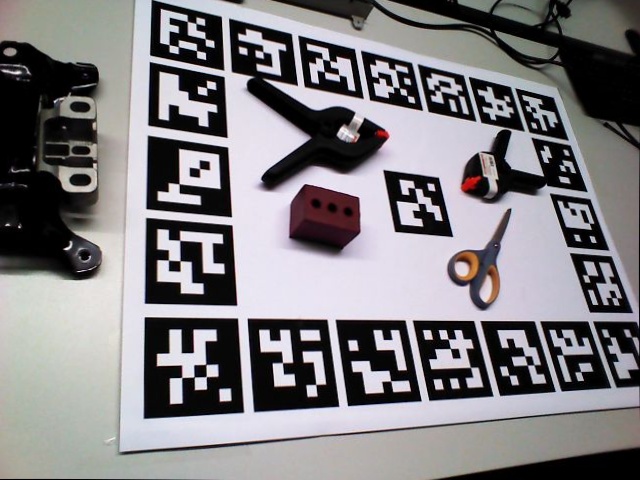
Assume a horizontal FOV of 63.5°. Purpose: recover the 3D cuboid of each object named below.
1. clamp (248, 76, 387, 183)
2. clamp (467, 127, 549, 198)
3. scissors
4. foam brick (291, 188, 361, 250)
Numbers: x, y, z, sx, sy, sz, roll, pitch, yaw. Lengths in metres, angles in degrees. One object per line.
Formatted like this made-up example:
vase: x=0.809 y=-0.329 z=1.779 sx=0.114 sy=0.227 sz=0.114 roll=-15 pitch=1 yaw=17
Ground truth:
clamp: x=0.007 y=-0.147 z=0.719 sx=0.202 sy=0.037 sz=0.164 roll=1 pitch=64 yaw=-26
clamp: x=0.303 y=-0.115 z=0.851 sx=0.164 sy=0.037 sz=0.122 roll=-26 pitch=87 yaw=-32
scissors: x=0.260 y=0.015 z=0.773 sx=0.088 sy=0.016 sz=0.201 roll=44 pitch=54 yaw=-11
foam brick: x=0.008 y=-0.026 z=0.657 sx=0.078 sy=0.052 sz=0.052 roll=10 pitch=65 yaw=-16
